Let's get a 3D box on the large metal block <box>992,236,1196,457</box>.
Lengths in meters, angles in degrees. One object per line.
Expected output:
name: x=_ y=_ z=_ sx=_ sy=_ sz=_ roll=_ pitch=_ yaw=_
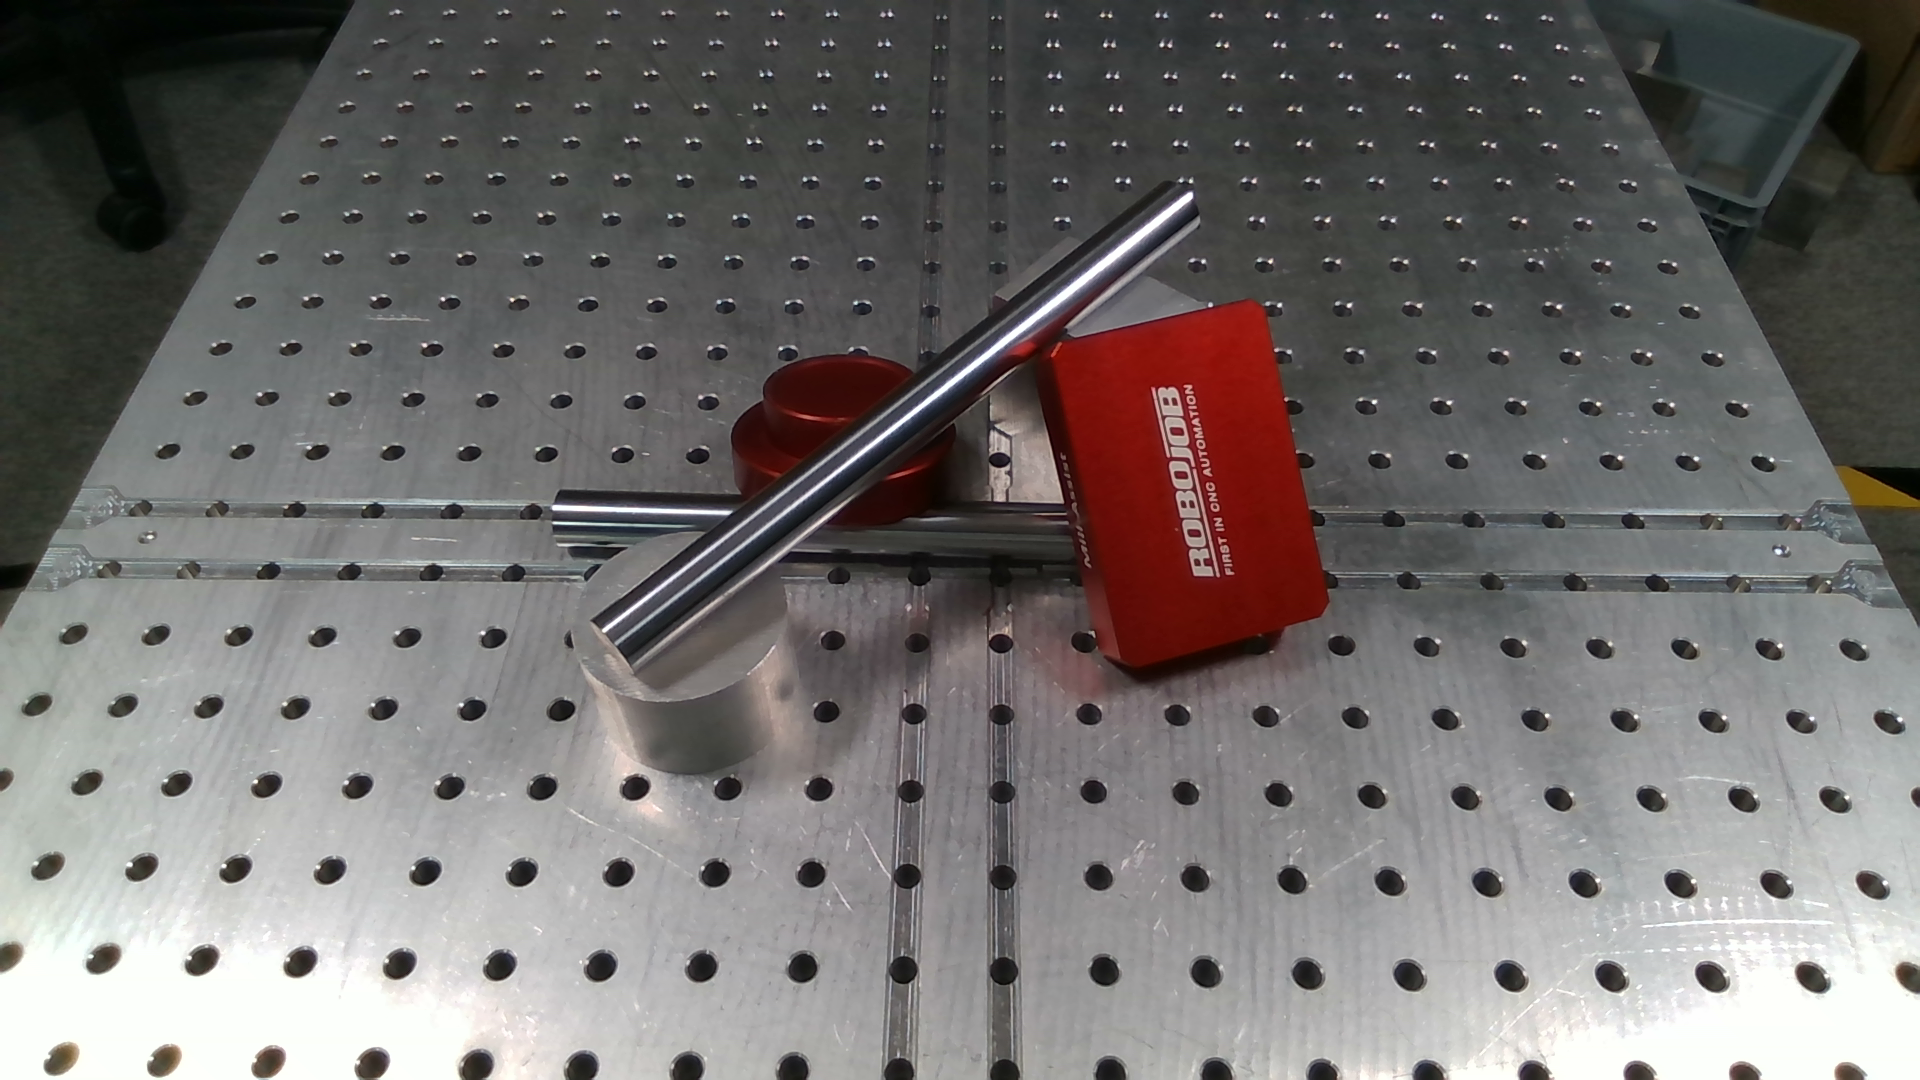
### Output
large metal block: x=0.062 y=-0.076 z=0.619 sx=0.080 sy=0.080 sz=0.050 roll=34 pitch=58 yaw=25

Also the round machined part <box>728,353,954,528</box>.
round machined part: x=-0.052 y=-0.049 z=0.599 sx=0.098 sy=0.042 sz=0.098 roll=0 pitch=33 yaw=0

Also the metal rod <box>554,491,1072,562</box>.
metal rod: x=-0.023 y=-0.005 z=0.594 sx=0.300 sy=0.025 sz=0.025 roll=2 pitch=50 yaw=1

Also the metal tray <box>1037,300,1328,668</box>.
metal tray: x=0.089 y=-0.022 z=0.554 sx=0.090 sy=0.030 sz=0.130 roll=-14 pitch=93 yaw=-12

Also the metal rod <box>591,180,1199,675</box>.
metal rod: x=-0.016 y=-0.052 z=0.541 sx=0.300 sy=0.025 sz=0.025 roll=-40 pitch=60 yaw=-19

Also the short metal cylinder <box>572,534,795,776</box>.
short metal cylinder: x=-0.106 y=0.044 z=0.538 sx=0.080 sy=0.050 sz=0.080 roll=0 pitch=50 yaw=0
